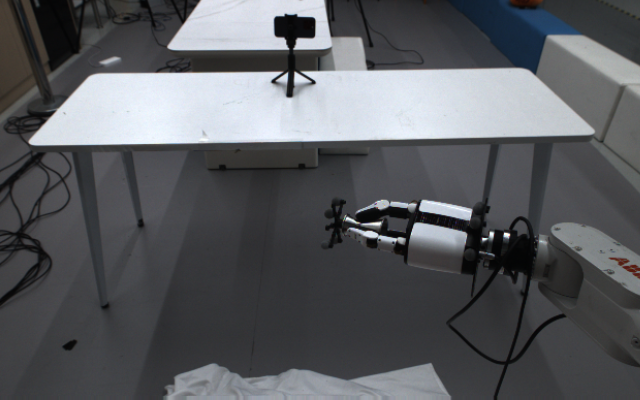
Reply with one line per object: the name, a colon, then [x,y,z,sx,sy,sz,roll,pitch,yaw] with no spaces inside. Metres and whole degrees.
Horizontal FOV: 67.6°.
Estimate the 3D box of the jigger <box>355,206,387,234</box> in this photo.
jigger: [0.080,0.043,0.810,0.071,0.043,0.043,8,34,23]
